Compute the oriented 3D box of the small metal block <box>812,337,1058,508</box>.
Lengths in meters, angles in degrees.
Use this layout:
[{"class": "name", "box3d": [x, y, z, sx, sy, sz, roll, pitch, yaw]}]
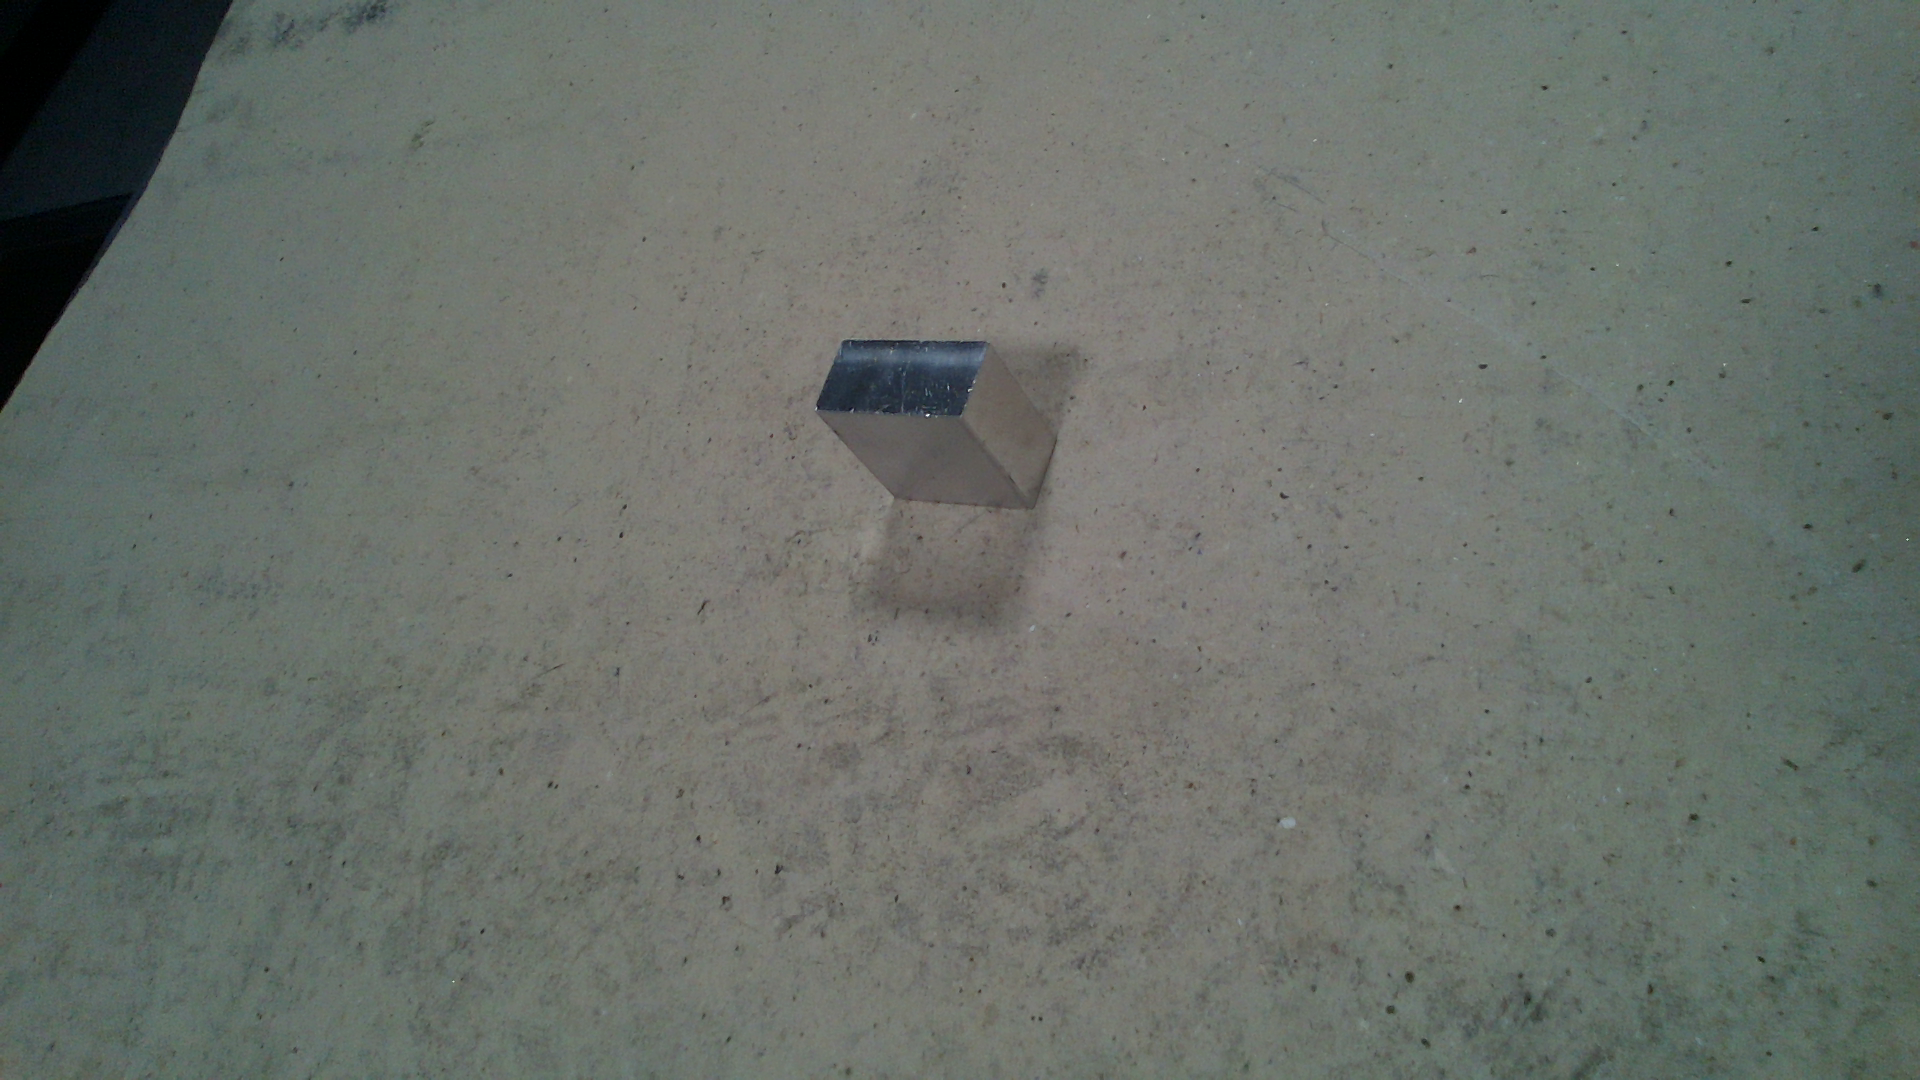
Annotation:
[{"class": "small metal block", "box3d": [-0.006, -0.034, 0.402, 0.050, 0.050, 0.025, 5, 64, 31]}]
